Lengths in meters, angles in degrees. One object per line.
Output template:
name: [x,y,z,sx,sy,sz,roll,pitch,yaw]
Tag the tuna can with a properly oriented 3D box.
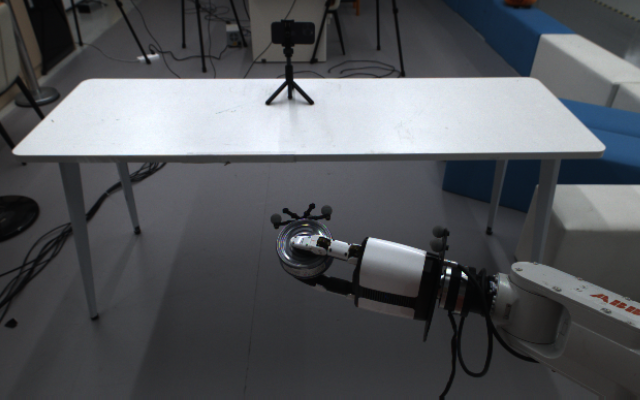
tuna can: [-0.018,0.078,0.716,0.085,0.034,0.085,-3,60,5]
